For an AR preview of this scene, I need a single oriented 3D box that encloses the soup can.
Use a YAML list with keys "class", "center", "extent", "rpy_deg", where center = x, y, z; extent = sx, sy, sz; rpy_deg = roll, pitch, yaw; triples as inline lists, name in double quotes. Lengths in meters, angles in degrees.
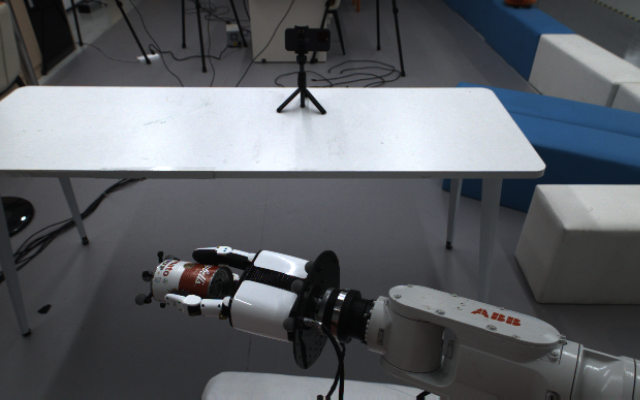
- class: "soup can"
  center: [-0.186, 0.128, 0.714]
  extent: [0.101, 0.067, 0.067]
  rpy_deg: [4, 34, 20]
